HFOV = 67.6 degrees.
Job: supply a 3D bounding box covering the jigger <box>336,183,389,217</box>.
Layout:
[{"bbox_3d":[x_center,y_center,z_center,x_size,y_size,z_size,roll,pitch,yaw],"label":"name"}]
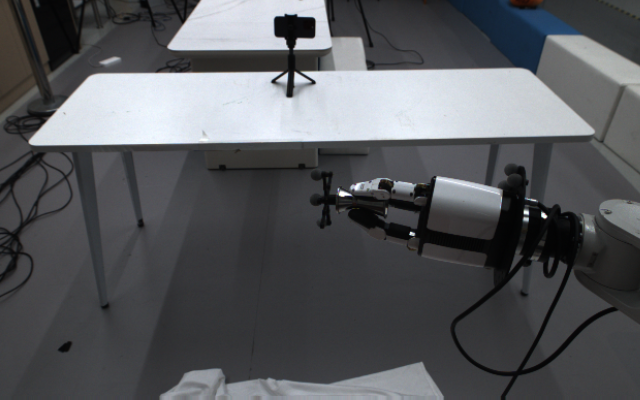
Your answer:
[{"bbox_3d":[0.066,-0.002,0.671,0.071,0.043,0.043,2,34,13],"label":"jigger"}]
